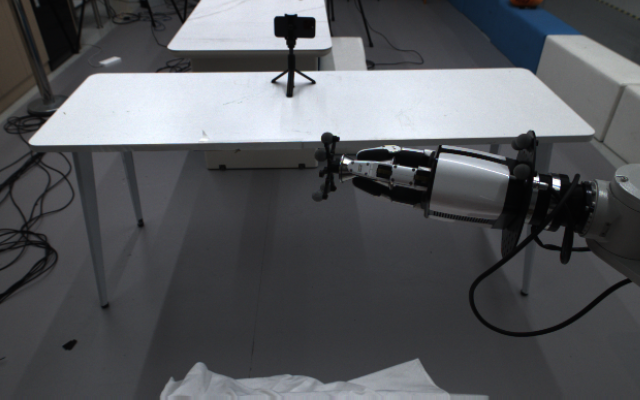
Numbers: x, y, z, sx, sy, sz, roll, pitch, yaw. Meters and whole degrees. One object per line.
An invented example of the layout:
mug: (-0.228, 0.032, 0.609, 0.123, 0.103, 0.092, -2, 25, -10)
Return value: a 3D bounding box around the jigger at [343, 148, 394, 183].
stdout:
jigger: (0.069, -0.041, 0.635, 0.071, 0.043, 0.043, 7, 35, 15)
